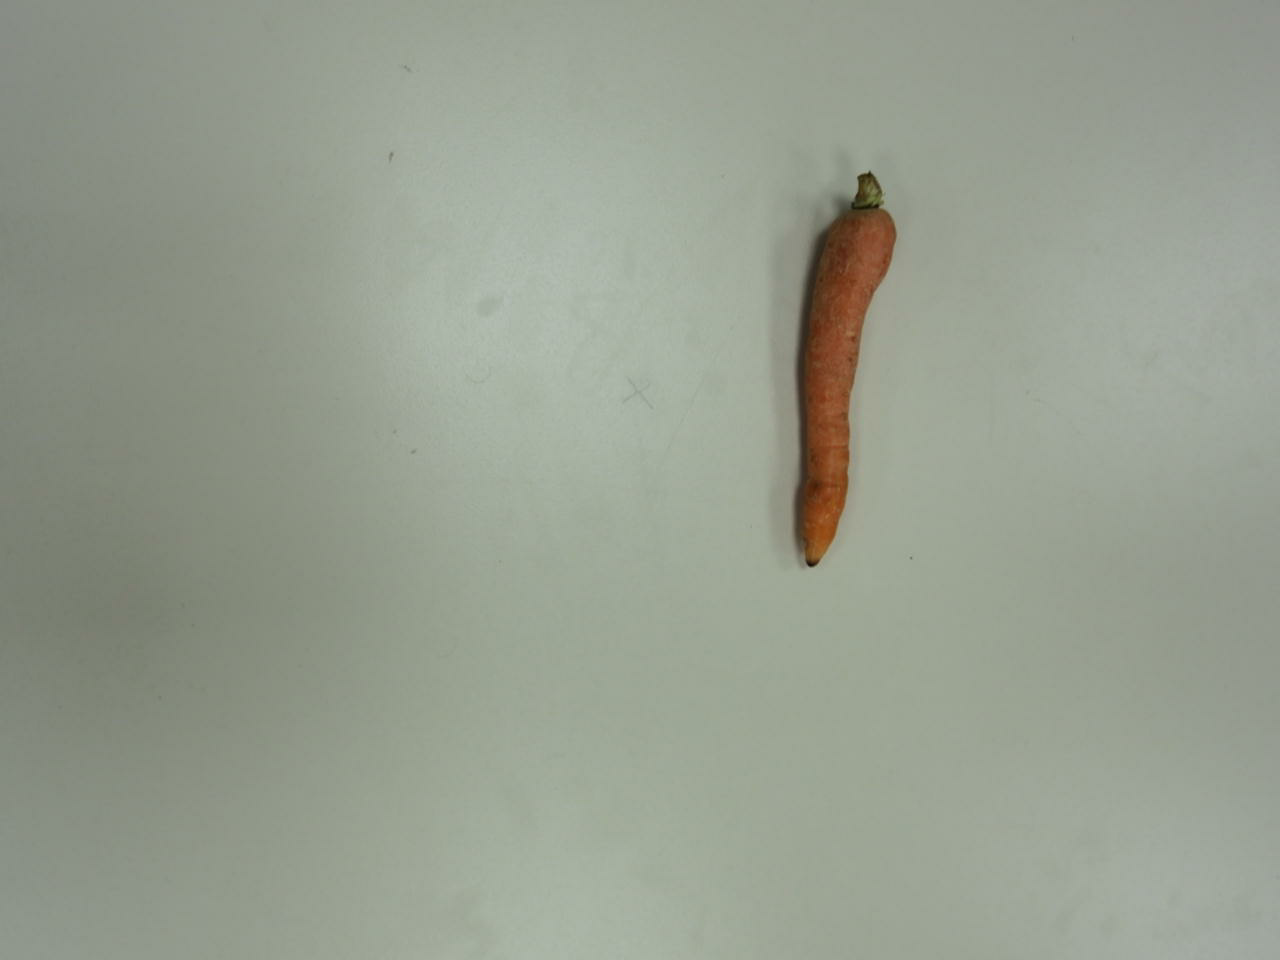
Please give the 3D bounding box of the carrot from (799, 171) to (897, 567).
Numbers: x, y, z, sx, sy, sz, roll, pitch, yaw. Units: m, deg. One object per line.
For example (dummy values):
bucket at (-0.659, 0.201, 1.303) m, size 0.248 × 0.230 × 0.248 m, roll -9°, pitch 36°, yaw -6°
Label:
carrot at (0.088, -0.048, 0.441) m, size 0.030 × 0.032 × 0.173 m, roll 10°, pitch 89°, yaw -11°
